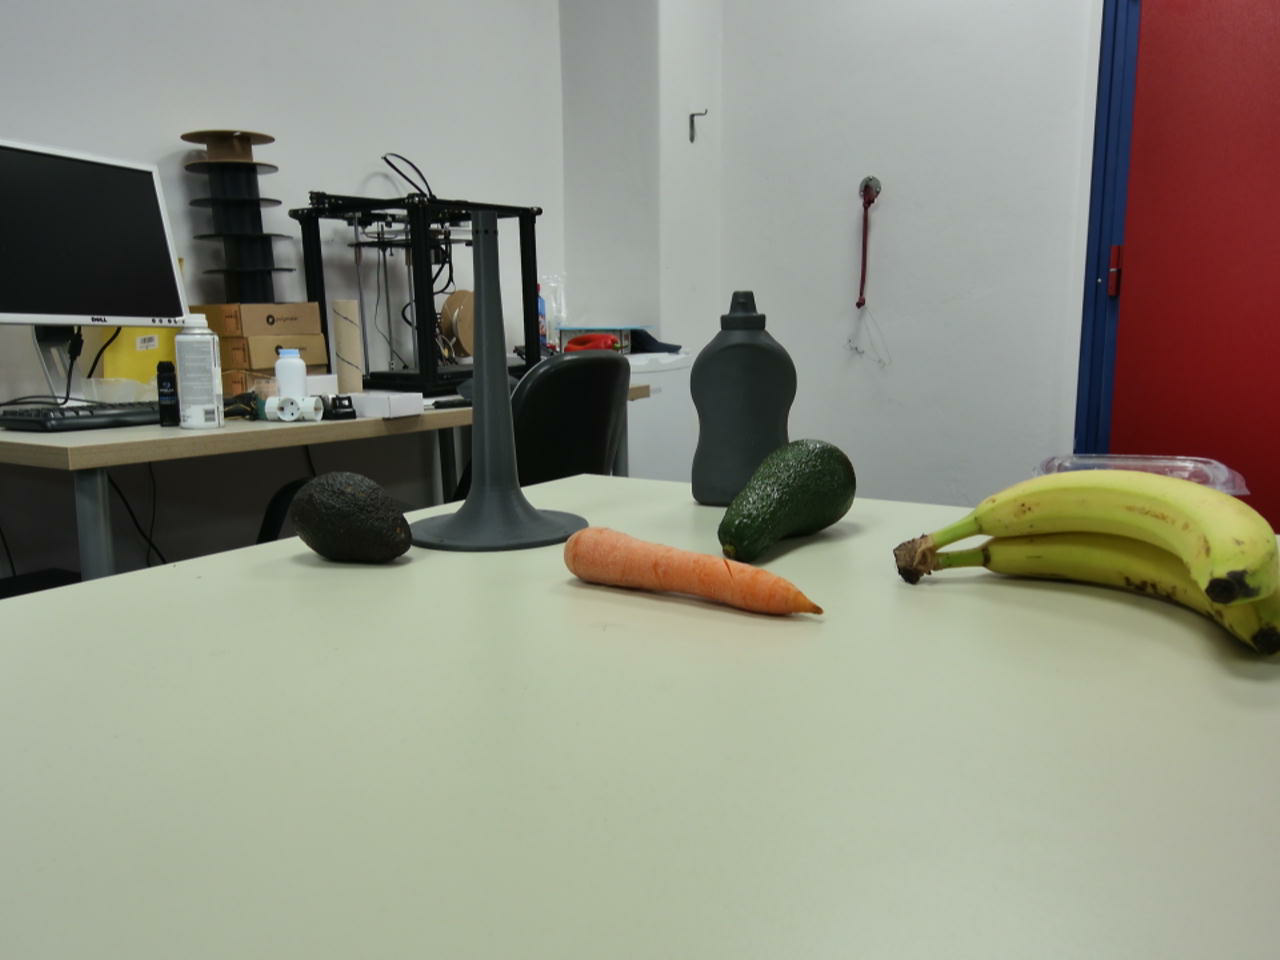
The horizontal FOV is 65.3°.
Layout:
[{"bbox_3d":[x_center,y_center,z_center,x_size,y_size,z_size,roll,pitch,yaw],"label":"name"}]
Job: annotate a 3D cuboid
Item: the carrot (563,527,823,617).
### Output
[{"bbox_3d":[0.030,0.058,0.655,0.196,0.041,0.039,5,9,34],"label":"carrot"}]
